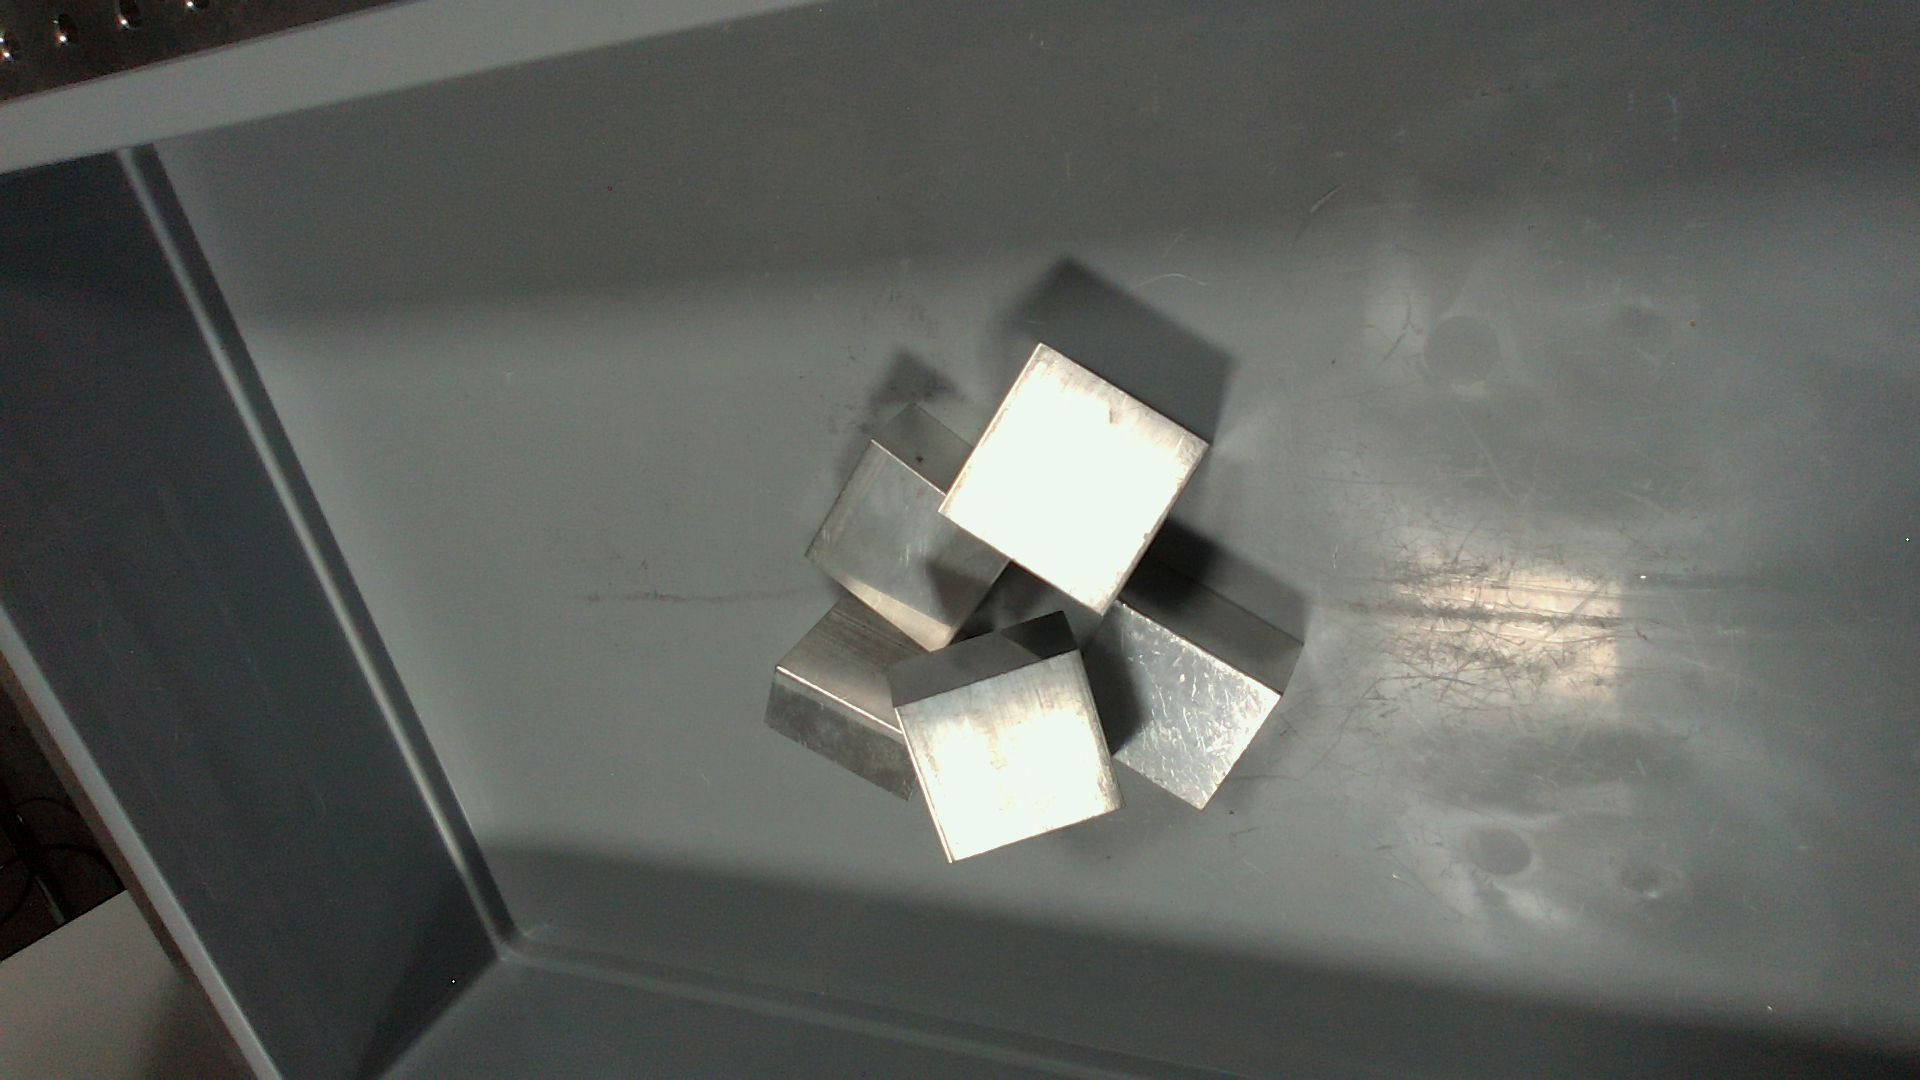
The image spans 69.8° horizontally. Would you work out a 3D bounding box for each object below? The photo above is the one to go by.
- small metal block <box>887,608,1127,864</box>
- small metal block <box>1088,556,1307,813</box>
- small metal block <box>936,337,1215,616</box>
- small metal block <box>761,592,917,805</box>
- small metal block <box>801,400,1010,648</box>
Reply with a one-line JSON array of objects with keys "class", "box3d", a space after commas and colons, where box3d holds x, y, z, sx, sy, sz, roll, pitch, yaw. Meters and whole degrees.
[{"class": "small metal block", "box3d": [0.013, 0.053, 0.370, 0.050, 0.025, 0.050, -18, 113, 1]}, {"class": "small metal block", "box3d": [0.060, 0.040, 0.383, 0.050, 0.025, 0.050, 31, 129, 8]}, {"class": "small metal block", "box3d": [0.030, -0.016, 0.351, 0.050, 0.025, 0.050, 32, 96, 7]}, {"class": "small metal block", "box3d": [-0.024, 0.044, 0.414, 0.050, 0.050, 0.025, 26, 128, 12]}, {"class": "small metal block", "box3d": [-0.010, -0.002, 0.394, 0.050, 0.025, 0.050, 37, 129, 3]}]
